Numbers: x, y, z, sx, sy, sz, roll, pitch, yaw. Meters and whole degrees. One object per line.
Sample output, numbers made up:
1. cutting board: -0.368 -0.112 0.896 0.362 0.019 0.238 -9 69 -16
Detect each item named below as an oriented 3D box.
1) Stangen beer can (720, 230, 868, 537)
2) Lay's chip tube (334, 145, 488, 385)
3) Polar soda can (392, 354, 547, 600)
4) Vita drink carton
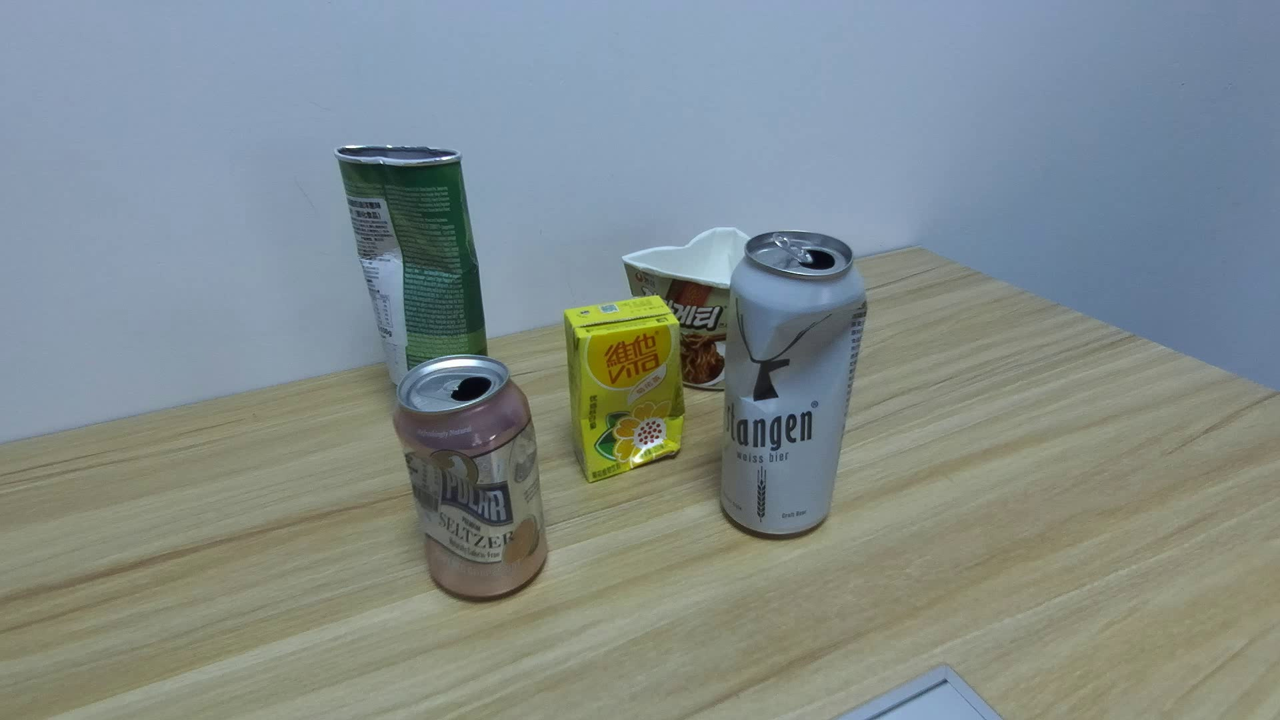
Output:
1. Stangen beer can: 0.081 0.017 0.389 0.070 0.173 0.070 12 33 24
2. Lay's chip tube: -0.147 -0.040 0.480 0.075 0.200 0.068 -11 31 -16
3. Polar soda can: -0.086 0.064 0.370 0.067 0.122 0.074 -13 29 -16
4. Vita drink carton: -0.007 0.018 0.458 0.076 0.109 0.043 -10 30 -15
